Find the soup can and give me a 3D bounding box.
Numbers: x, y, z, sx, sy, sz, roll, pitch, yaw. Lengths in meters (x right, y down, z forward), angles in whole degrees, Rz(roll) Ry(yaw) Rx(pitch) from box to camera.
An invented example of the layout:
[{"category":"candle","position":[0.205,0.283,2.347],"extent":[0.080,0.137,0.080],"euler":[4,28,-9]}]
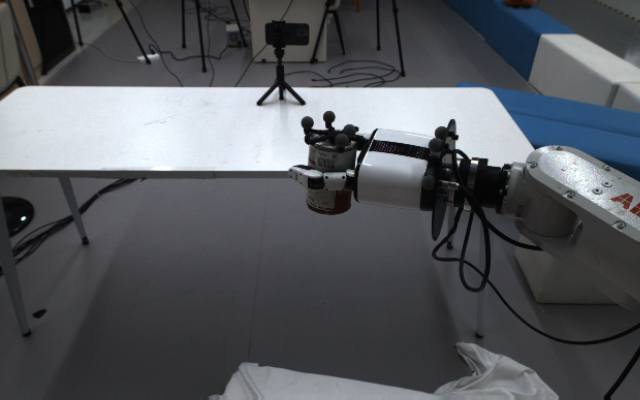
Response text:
[{"category":"soup can","position":[0.016,-0.039,0.681],"extent":[0.067,0.101,0.067],"euler":[3,30,-2]}]
